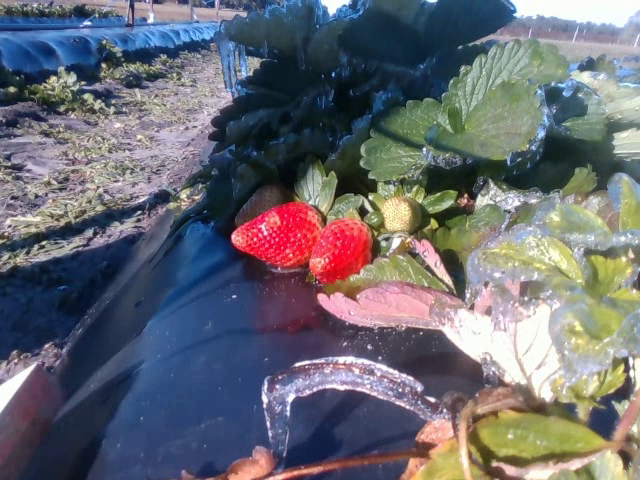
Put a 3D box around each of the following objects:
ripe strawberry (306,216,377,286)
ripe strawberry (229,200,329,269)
[{"bbox_3d":[0.008,0.006,0.290,0.036,0.030,0.041,-23,17,36],"label":"ripe strawberry"},{"bbox_3d":[-0.025,-0.001,0.311,0.052,0.040,0.037,-3,-1,-33],"label":"ripe strawberry"}]
